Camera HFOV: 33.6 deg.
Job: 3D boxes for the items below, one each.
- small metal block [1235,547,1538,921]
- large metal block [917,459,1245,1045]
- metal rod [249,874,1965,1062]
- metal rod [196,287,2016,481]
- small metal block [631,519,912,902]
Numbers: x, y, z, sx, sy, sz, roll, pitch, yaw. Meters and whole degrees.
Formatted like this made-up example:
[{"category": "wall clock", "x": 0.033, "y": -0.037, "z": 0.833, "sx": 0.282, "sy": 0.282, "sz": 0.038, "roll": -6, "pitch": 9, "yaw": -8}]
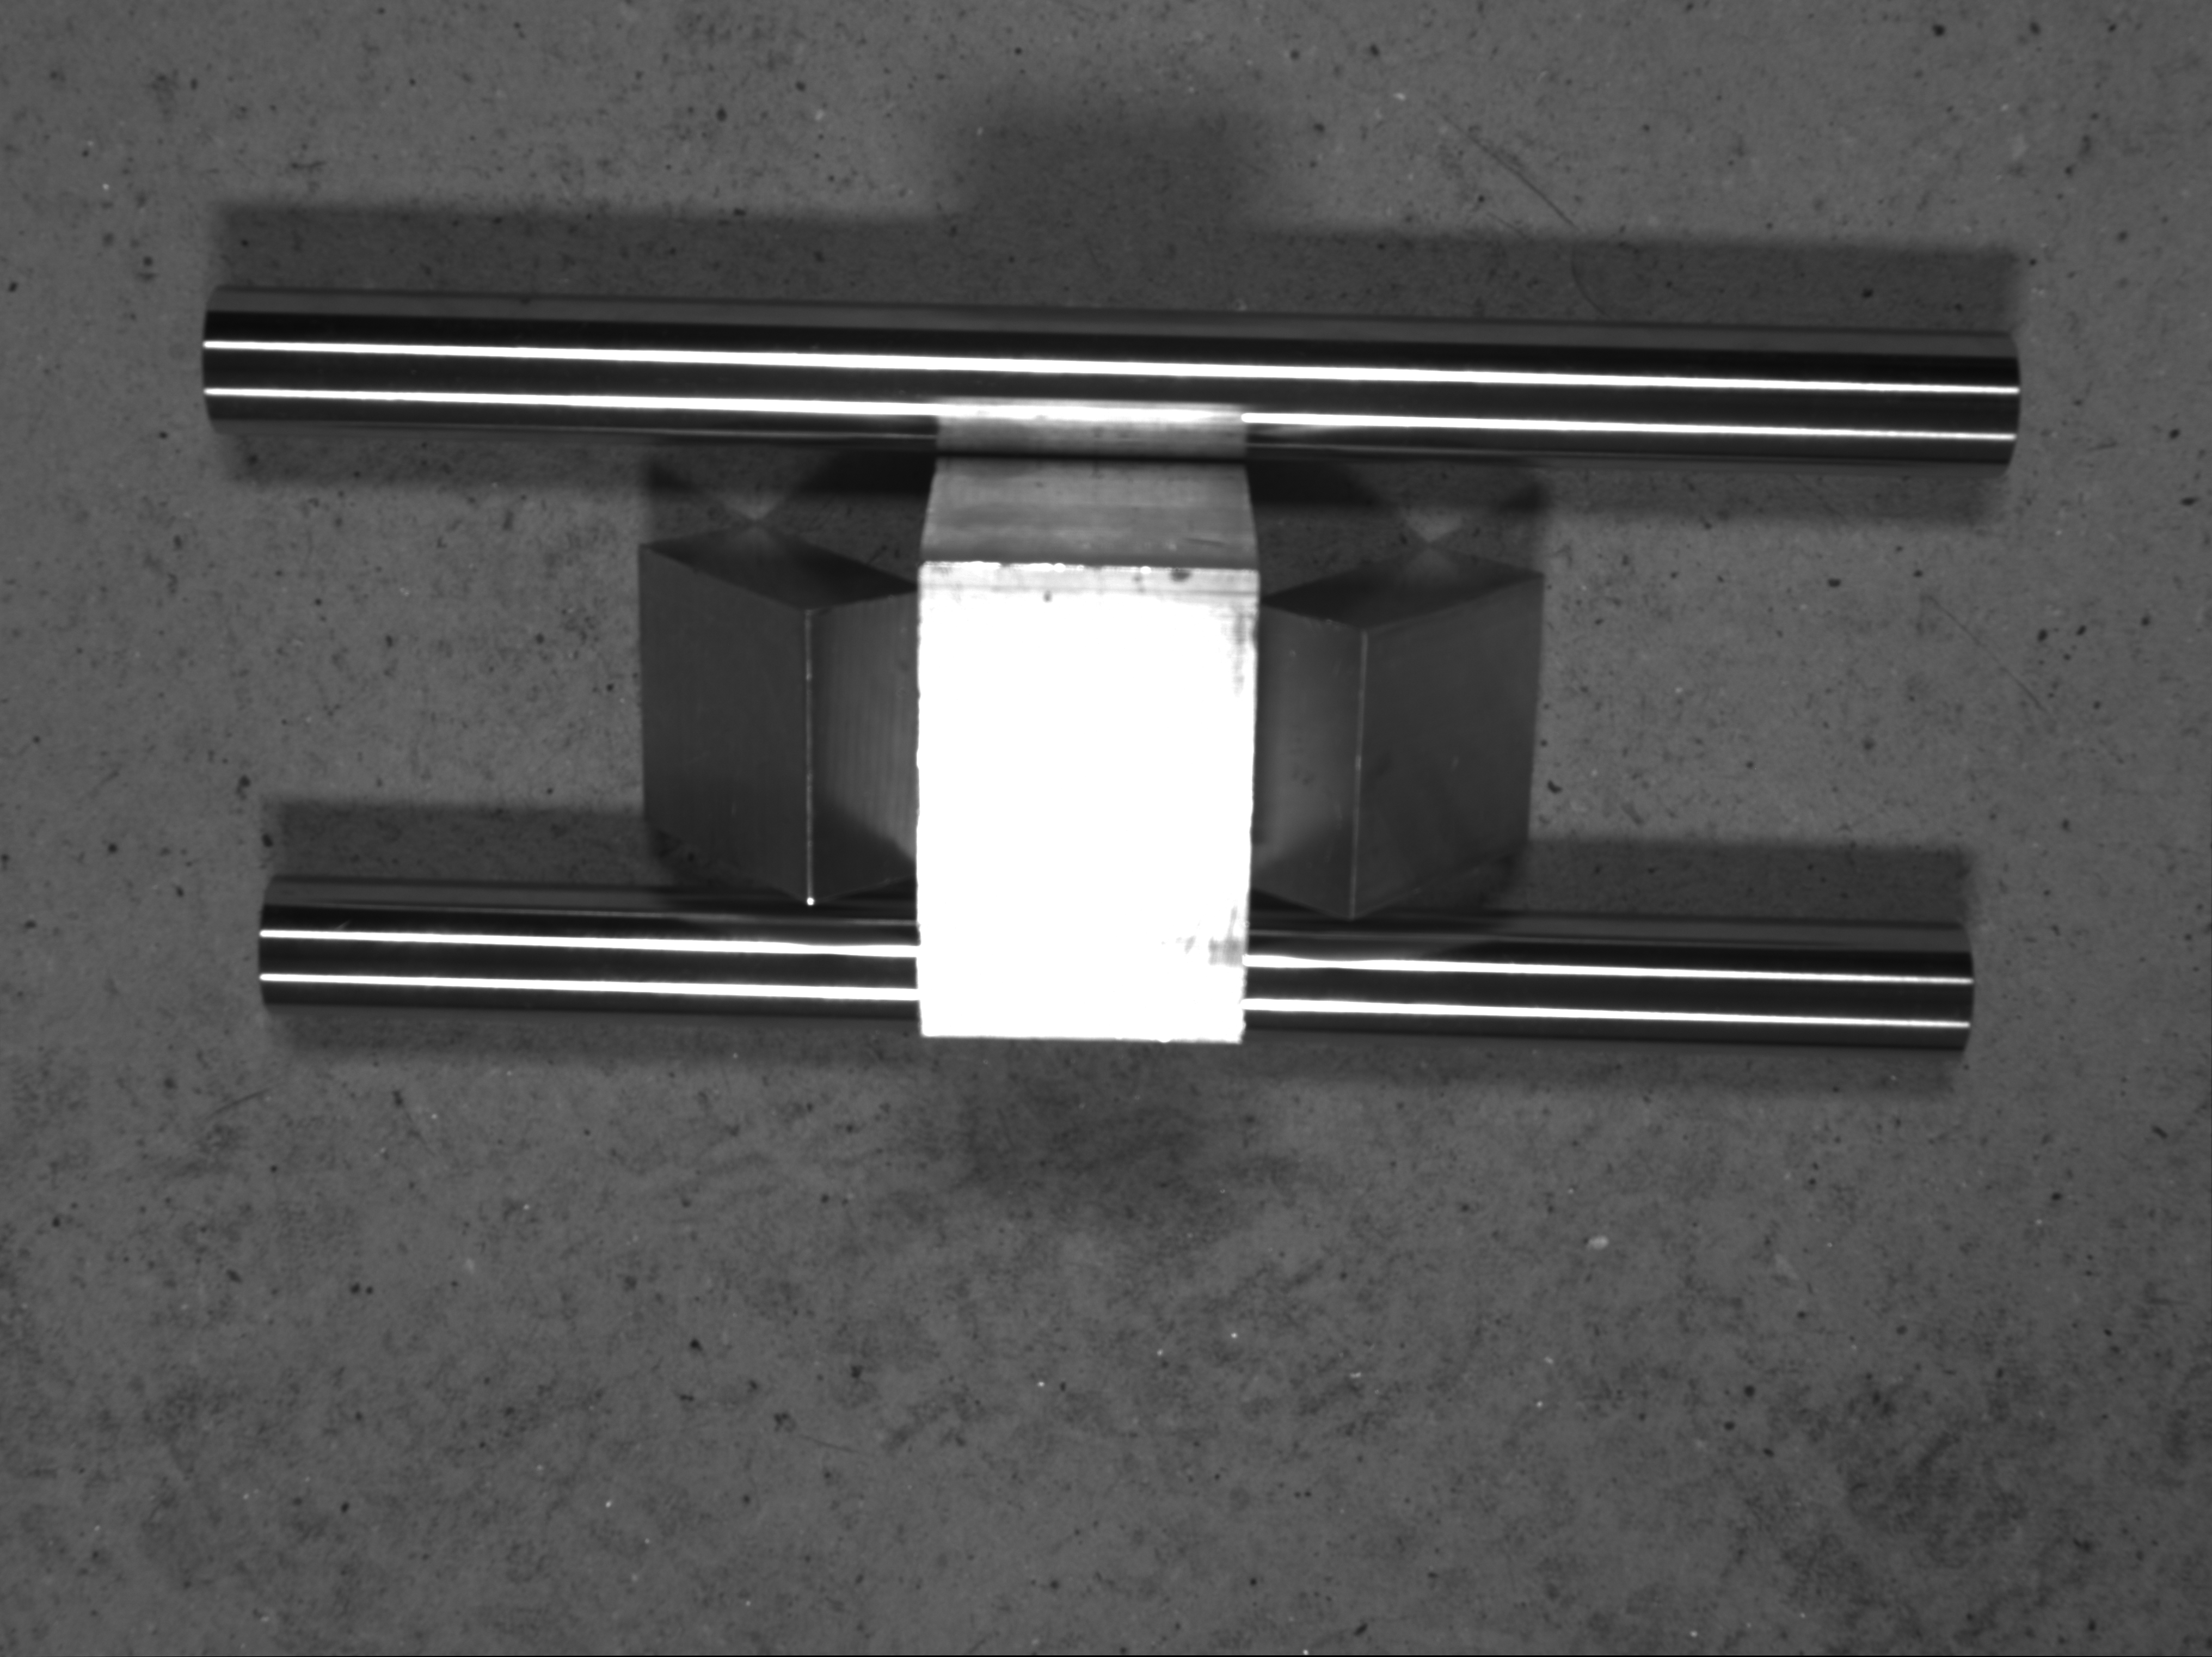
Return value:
[{"category": "small metal block", "x": 0.047, "y": -0.017, "z": 0.623, "sx": 0.025, "sy": 0.050, "sz": 0.050, "roll": 17, "pitch": 115, "yaw": 38}, {"category": "large metal block", "x": -0.005, "y": -0.017, "z": 0.610, "sx": 0.050, "sy": 0.080, "sz": 0.080, "roll": 1, "pitch": 110, "yaw": -1}, {"category": "metal rod", "x": 0.001, "y": 0.025, "z": 0.652, "sx": 0.300, "sy": 0.025, "sz": 0.025, "roll": 2, "pitch": 110, "yaw": -1}, {"category": "metal rod", "x": 0.001, "y": -0.075, "z": 0.616, "sx": 0.300, "sy": 0.025, "sz": 0.025, "roll": 1, "pitch": 110, "yaw": -1}, {"category": "small metal block", "x": -0.056, "y": -0.021, "z": 0.620, "sx": 0.025, "sy": 0.050, "sz": 0.050, "roll": -15, "pitch": 116, "yaw": -37}]
